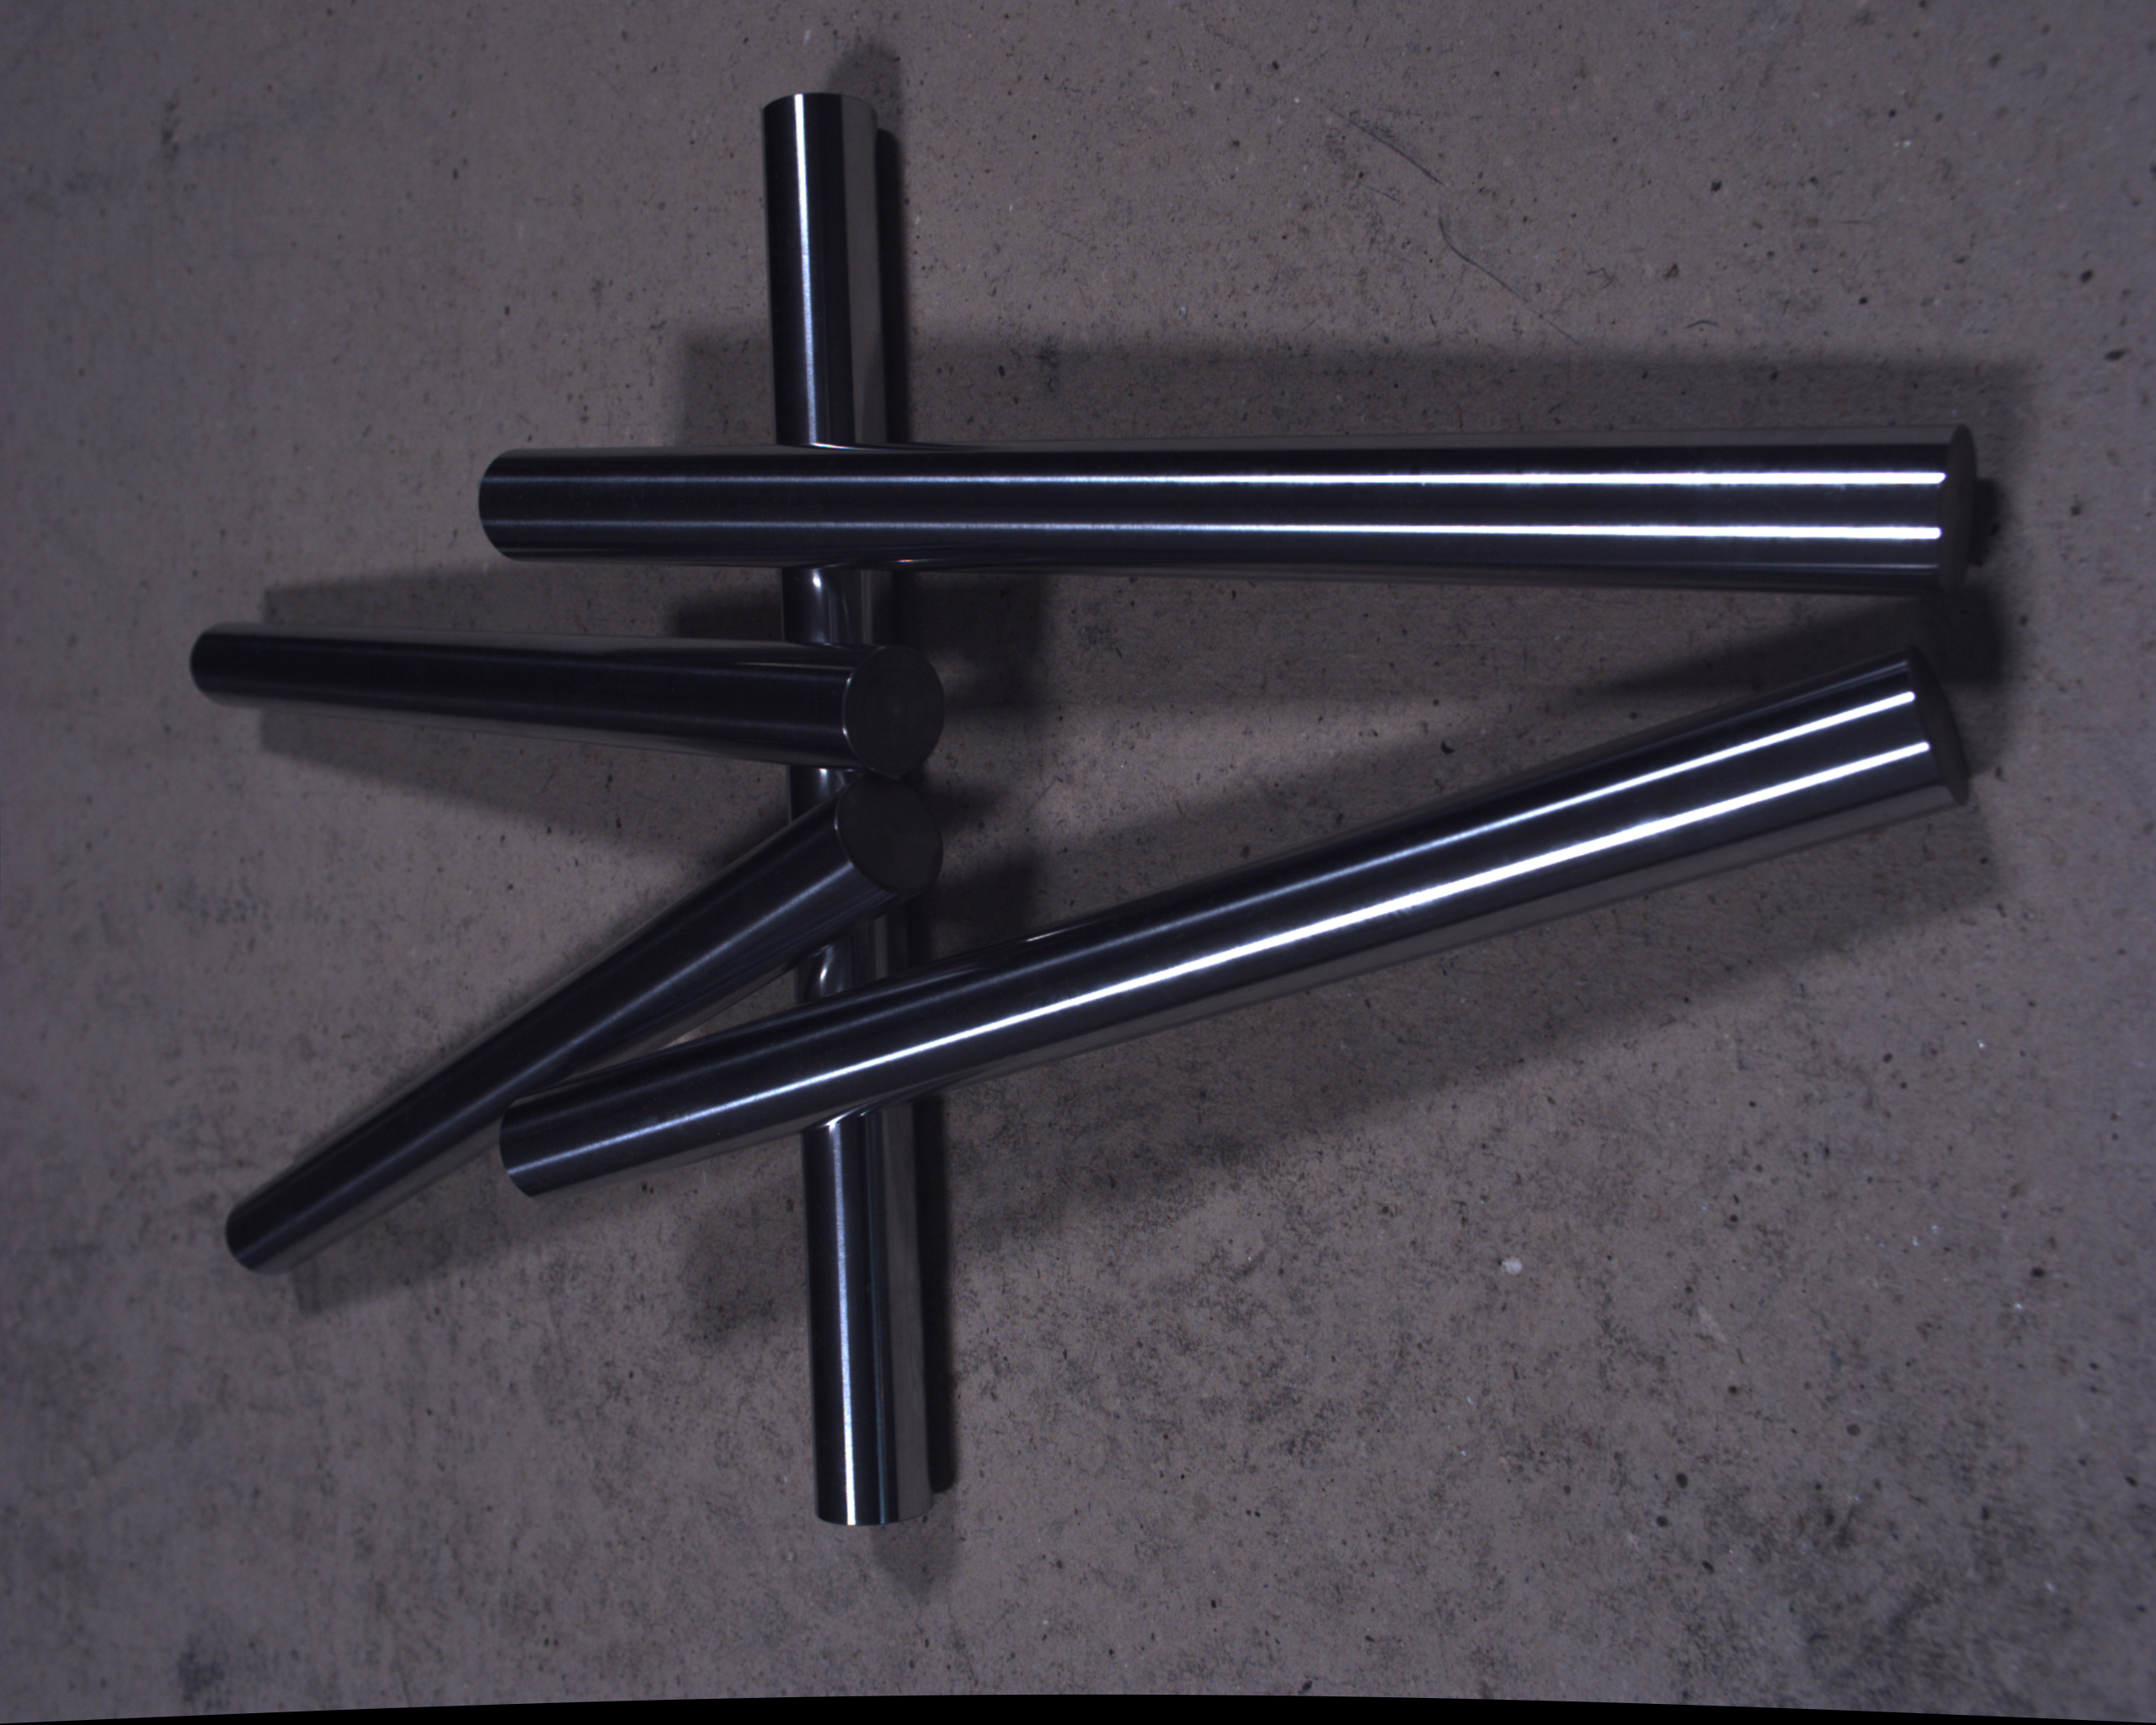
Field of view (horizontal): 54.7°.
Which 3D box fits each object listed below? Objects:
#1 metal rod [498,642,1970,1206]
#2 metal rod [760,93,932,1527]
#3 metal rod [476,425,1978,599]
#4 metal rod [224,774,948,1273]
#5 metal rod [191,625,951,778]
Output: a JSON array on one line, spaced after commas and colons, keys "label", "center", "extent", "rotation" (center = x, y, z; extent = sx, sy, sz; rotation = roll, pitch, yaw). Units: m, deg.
[{"label": "metal rod", "center": [0.004, 0.021, 0.381], "extent": [0.300, 0.025, 0.025], "rotation": [-19, 78, 31]}, {"label": "metal rod", "center": [-0.050, -0.012, 0.445], "extent": [0.025, 0.025, 0.298], "rotation": [-4, 87, 39]}, {"label": "metal rod", "center": [0.002, -0.065, 0.382], "extent": [0.300, 0.025, 0.025], "rotation": [6, 94, 33]}, {"label": "metal rod", "center": [-0.133, 0.050, 0.495], "extent": [0.299, 0.025, 0.025], "rotation": [-29, 72, 41]}, {"label": "metal rod", "center": [-0.139, -0.043, 0.500], "extent": [0.300, 0.025, 0.025], "rotation": [8, 95, 45]}]
